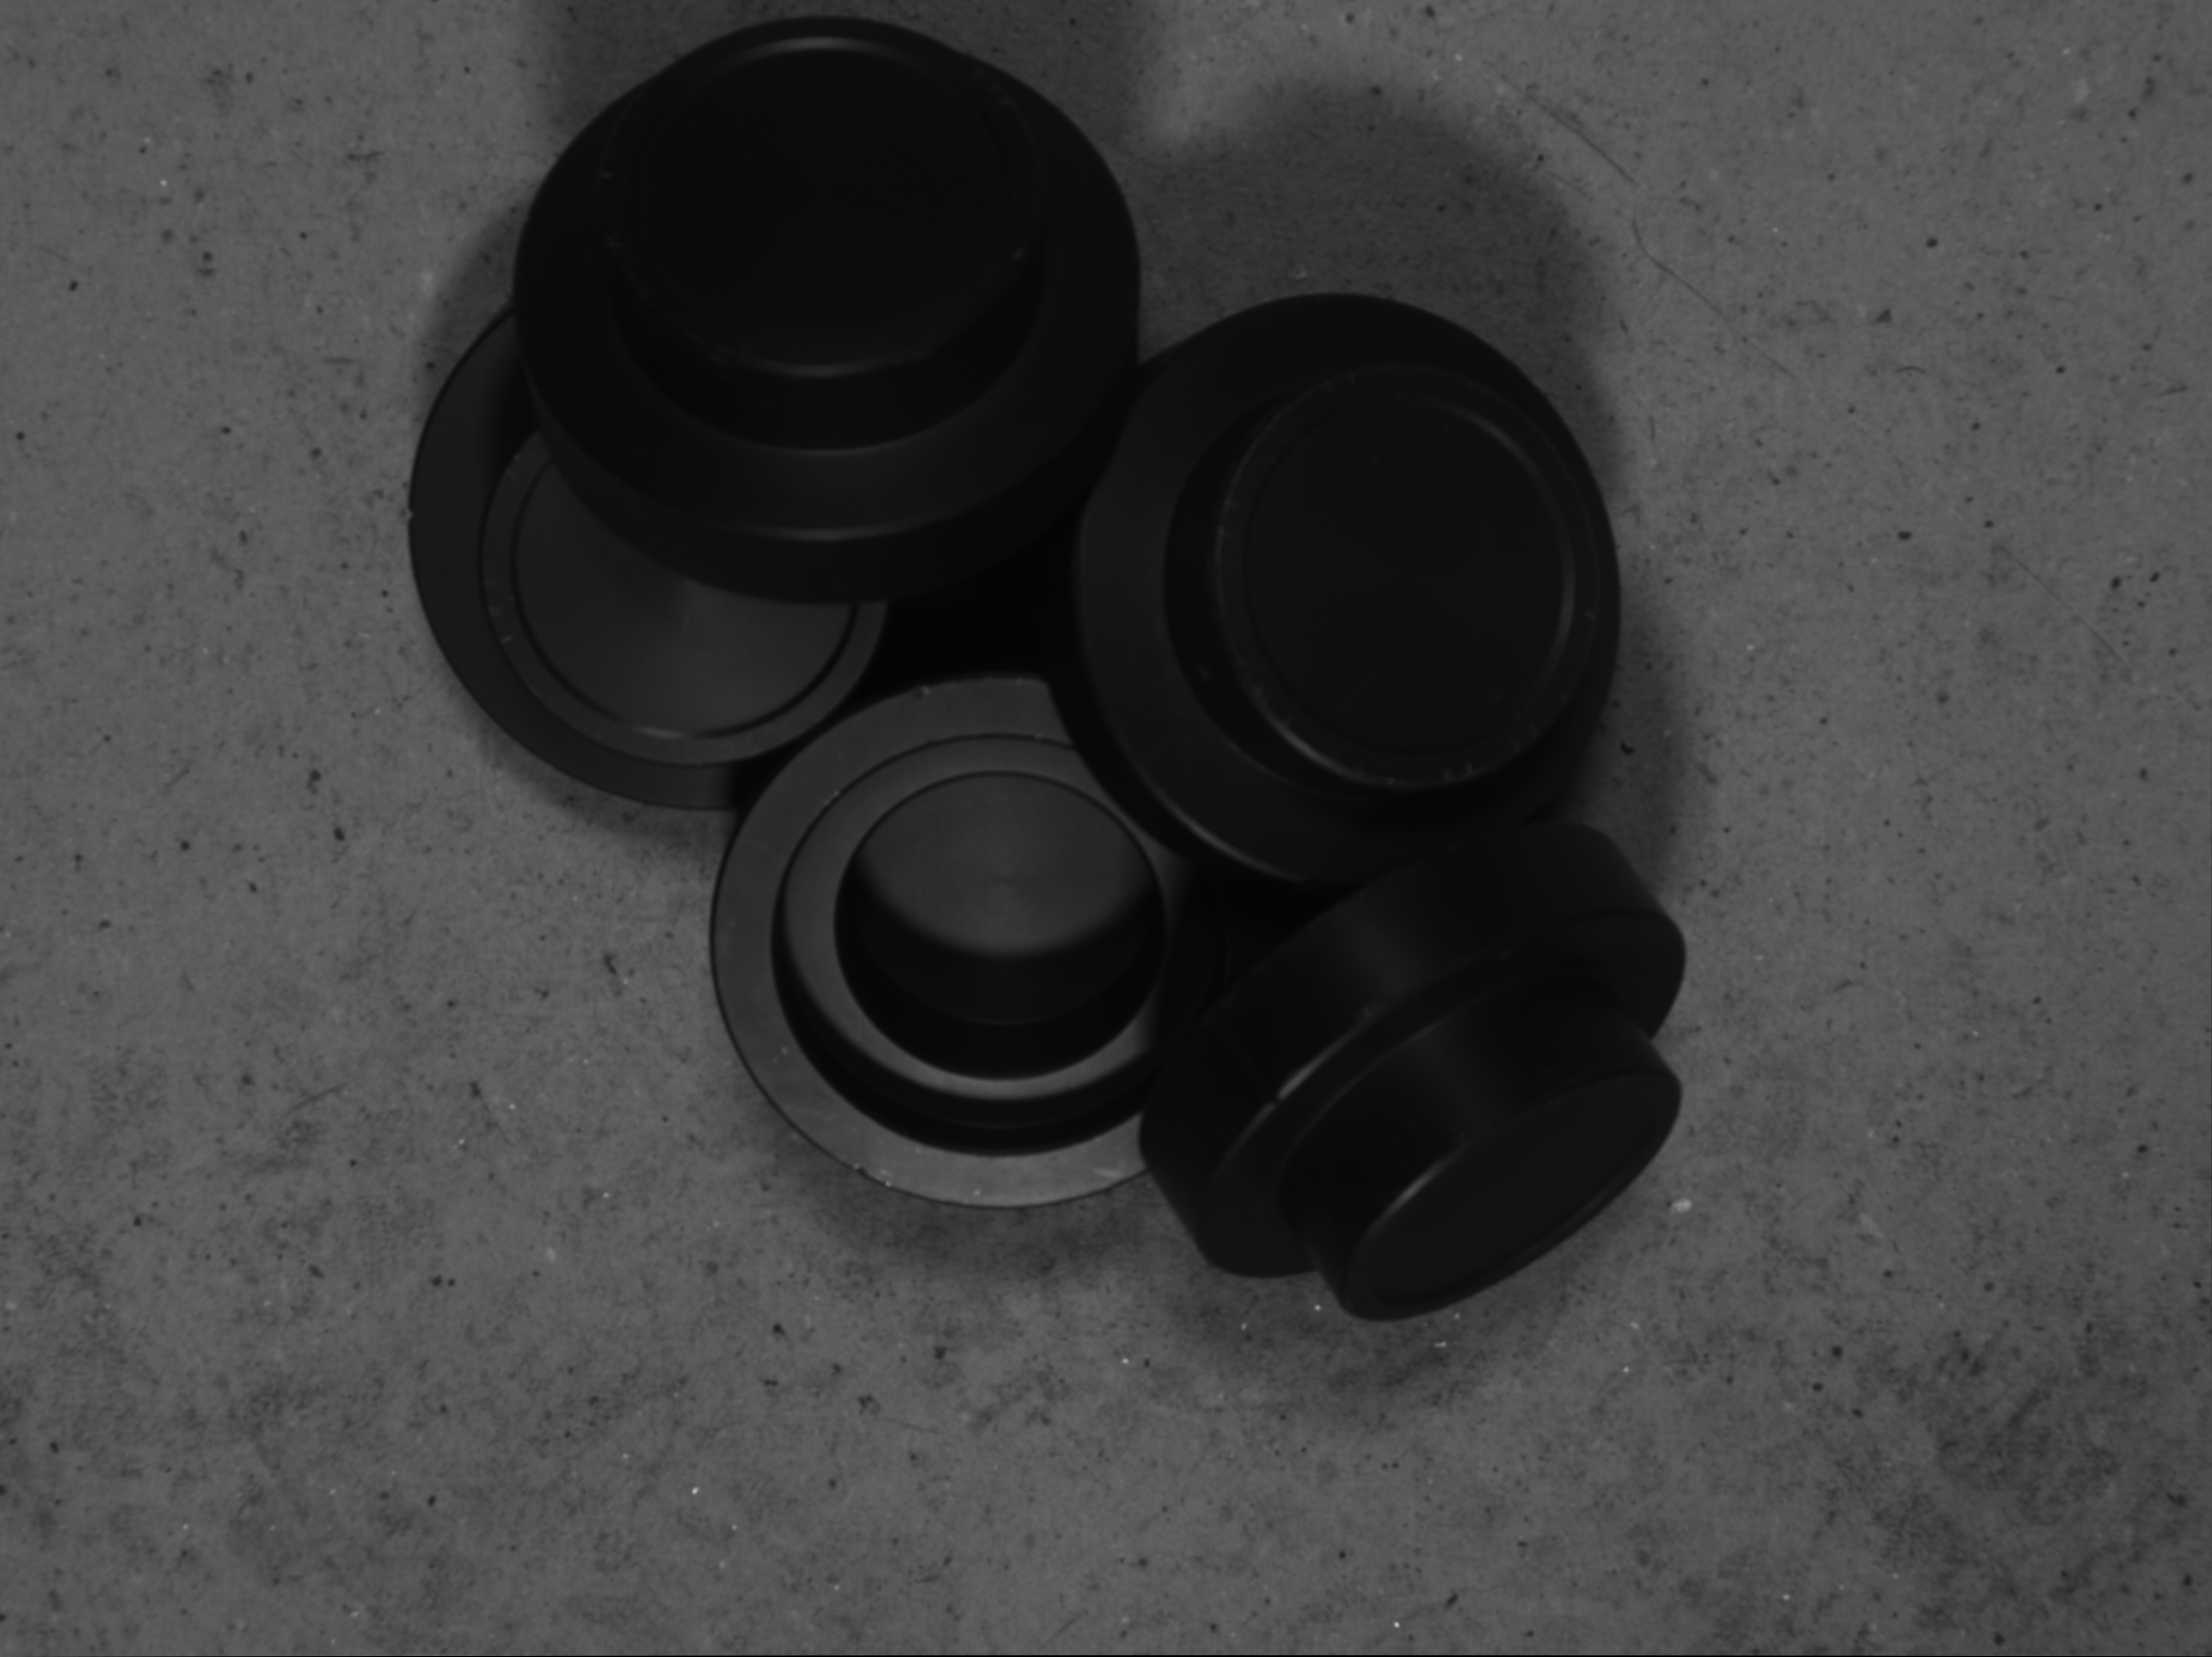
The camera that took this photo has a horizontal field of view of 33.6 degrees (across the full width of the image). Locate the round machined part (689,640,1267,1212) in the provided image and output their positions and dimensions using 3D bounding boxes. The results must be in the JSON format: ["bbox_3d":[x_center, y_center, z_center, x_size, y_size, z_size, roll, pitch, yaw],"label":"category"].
[{"bbox_3d":[-0.022,0.014,0.639,0.098,0.042,0.098,0,110,-1],"label":"round machined part"}]

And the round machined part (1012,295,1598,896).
[{"bbox_3d":[0.037,-0.039,0.597,0.098,0.042,0.098,1,86,-21],"label":"round machined part"}]

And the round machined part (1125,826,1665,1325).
[{"bbox_3d":[0.055,0.047,0.623,0.098,0.098,0.042,-41,64,13],"label":"round machined part"}]

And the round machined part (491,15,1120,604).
[{"bbox_3d":[-0.047,-0.087,0.571,0.098,0.098,0.042,1,152,-1],"label":"round machined part"}]

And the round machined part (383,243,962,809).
[{"bbox_3d":[-0.073,-0.049,0.617,0.098,0.042,0.098,0,110,-1],"label":"round machined part"}]
